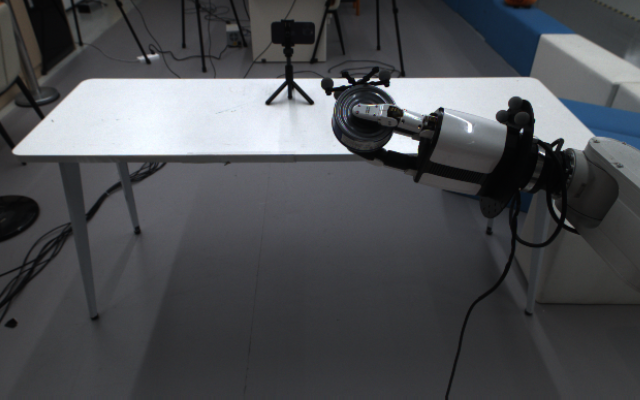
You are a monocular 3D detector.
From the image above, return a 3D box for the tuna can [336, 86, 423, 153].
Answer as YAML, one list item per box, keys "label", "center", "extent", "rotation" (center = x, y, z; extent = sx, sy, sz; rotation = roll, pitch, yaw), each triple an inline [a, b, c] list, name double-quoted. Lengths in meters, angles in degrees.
- label: "tuna can"
  center: [0.063, -0.103, 0.639]
  extent: [0.085, 0.034, 0.085]
  rotation: [0, 72, -1]
